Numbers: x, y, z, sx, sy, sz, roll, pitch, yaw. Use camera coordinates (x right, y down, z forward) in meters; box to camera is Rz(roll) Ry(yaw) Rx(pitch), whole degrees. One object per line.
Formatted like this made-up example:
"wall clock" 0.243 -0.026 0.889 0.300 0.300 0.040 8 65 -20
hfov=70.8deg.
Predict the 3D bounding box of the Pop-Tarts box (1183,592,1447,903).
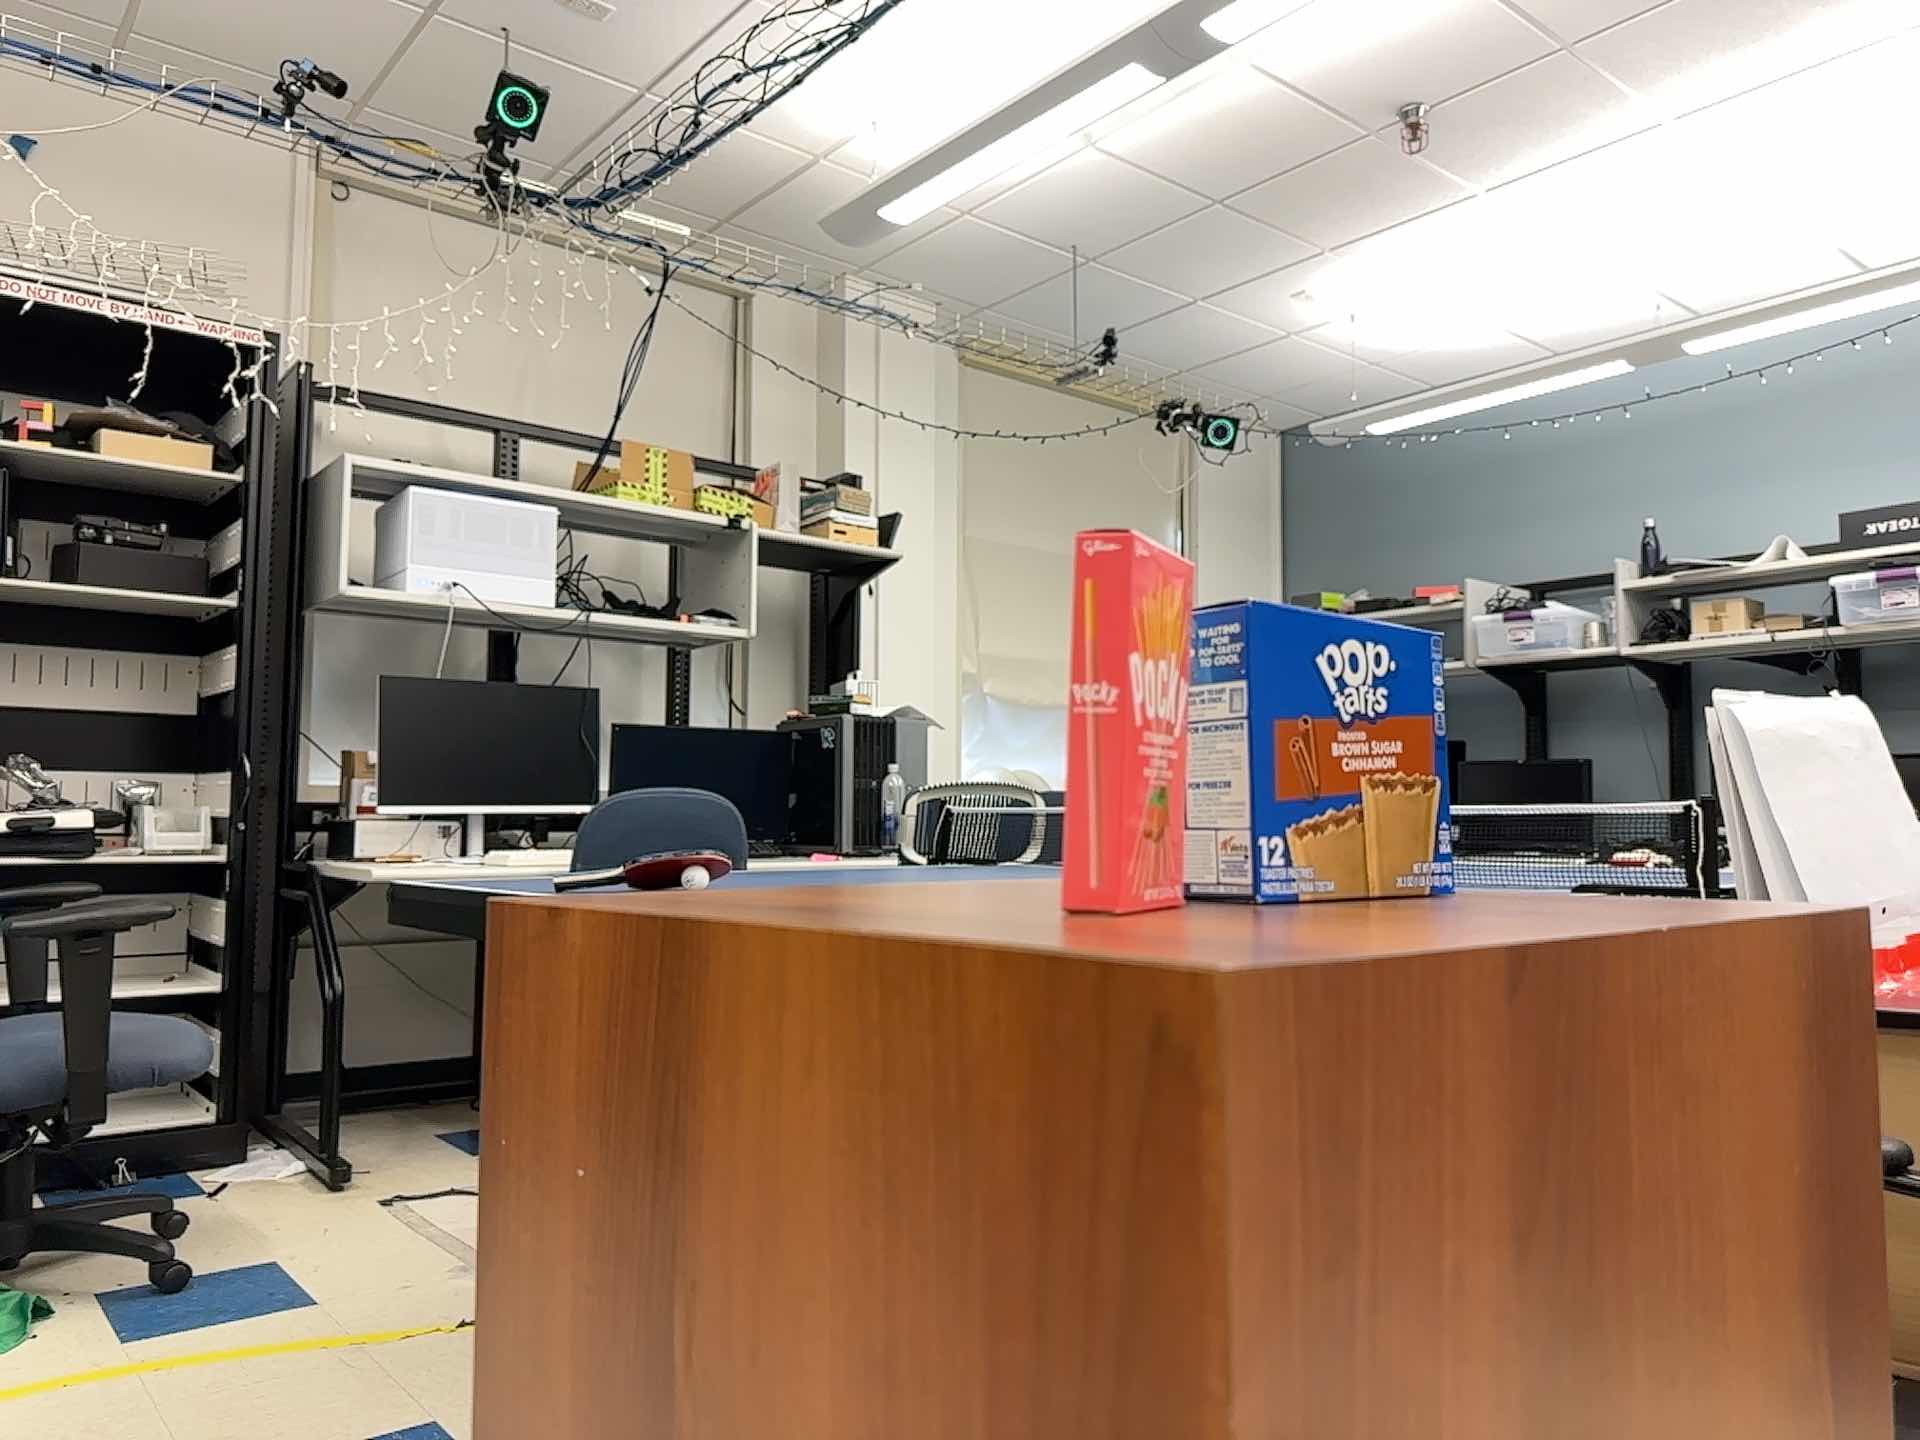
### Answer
"Pop-Tarts box" 0.167 0.021 0.685 0.161 0.135 0.075 7 -9 -40

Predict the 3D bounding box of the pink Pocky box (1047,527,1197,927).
"pink Pocky box" 0.068 0.005 0.554 0.029 0.155 0.084 1 -5 29
